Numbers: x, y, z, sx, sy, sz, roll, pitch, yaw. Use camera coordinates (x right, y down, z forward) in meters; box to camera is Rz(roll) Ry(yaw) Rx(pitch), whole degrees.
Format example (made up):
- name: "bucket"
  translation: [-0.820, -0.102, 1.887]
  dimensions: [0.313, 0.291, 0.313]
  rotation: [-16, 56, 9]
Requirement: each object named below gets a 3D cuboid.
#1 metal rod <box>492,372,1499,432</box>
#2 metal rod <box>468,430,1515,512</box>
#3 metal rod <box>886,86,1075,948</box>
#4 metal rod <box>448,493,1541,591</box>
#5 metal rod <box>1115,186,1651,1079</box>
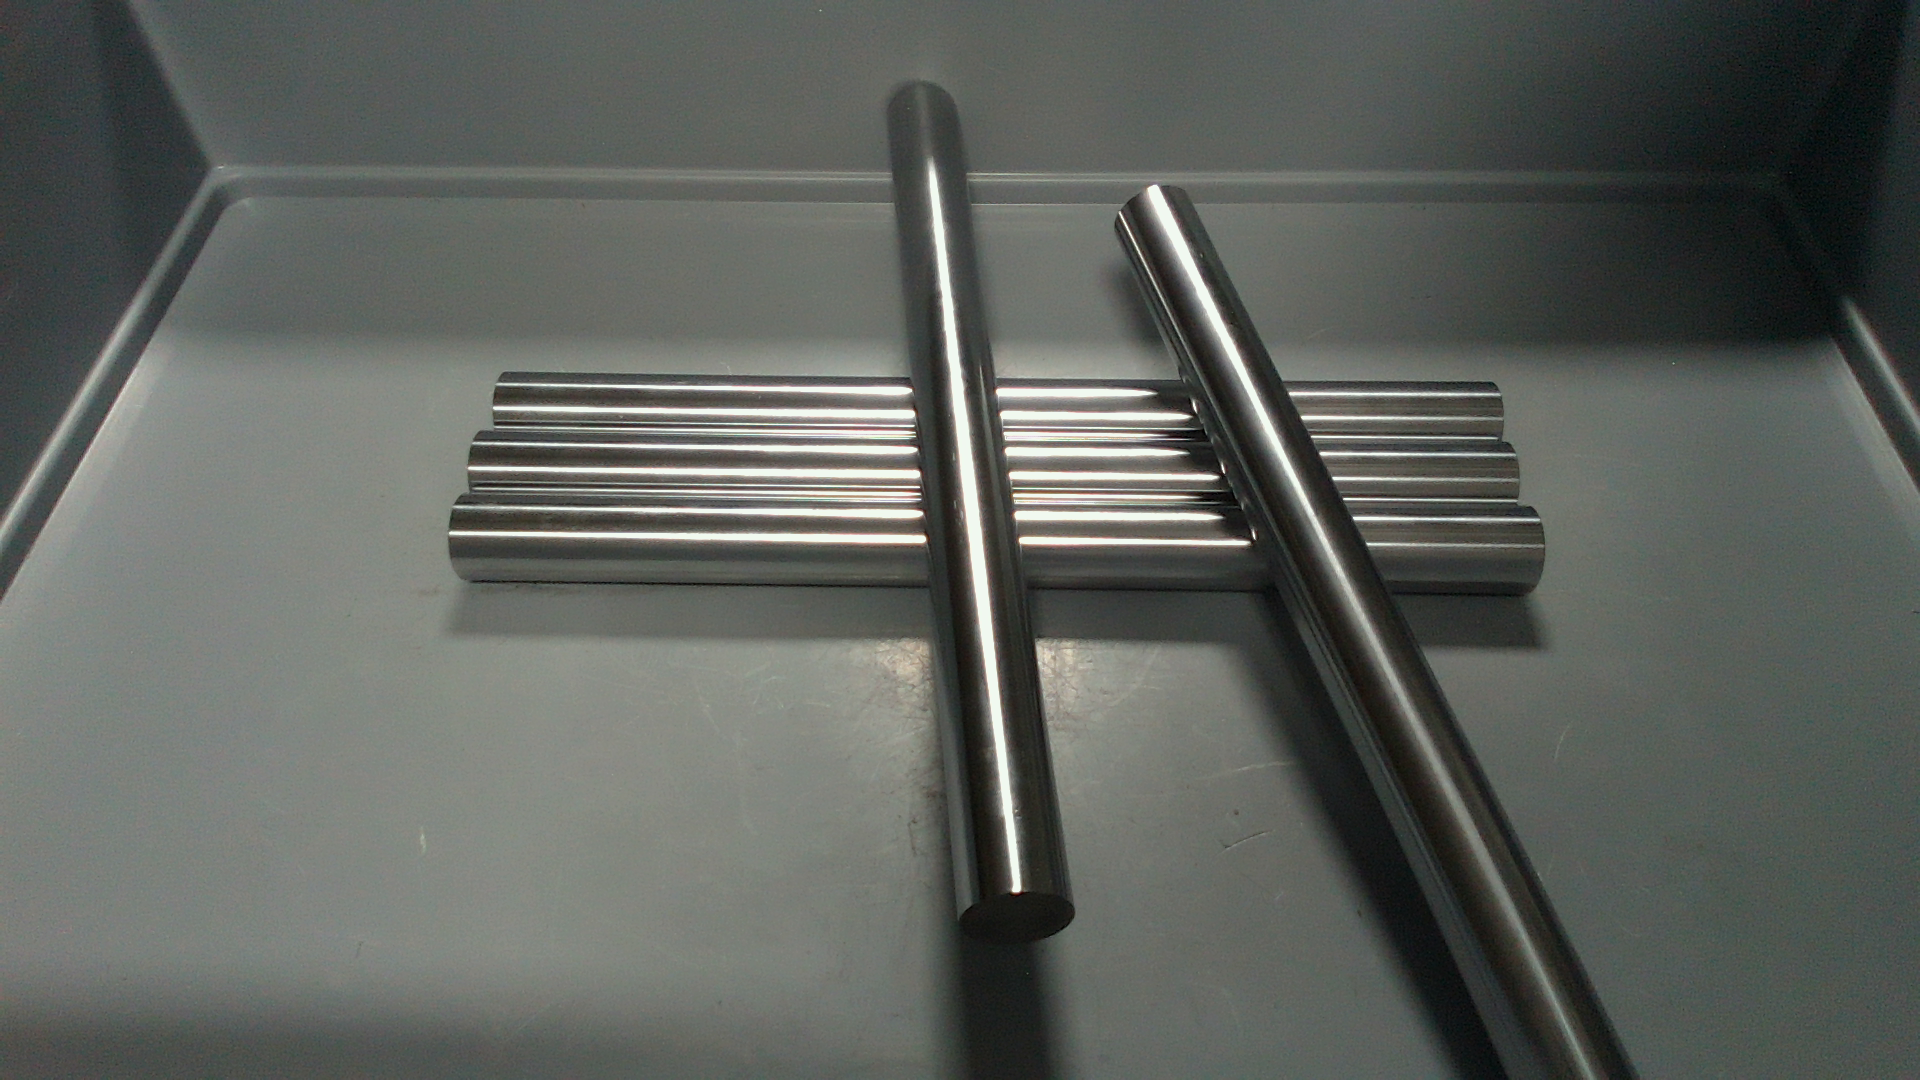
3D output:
- name: "metal rod"
  translation: [0.010, -0.038, 0.422]
  dimensions: [0.300, 0.025, 0.025]
  rotation: [1, 50, 0]
- name: "metal rod"
  translation: [0.009, -0.019, 0.406]
  dimensions: [0.300, 0.025, 0.025]
  rotation: [1, 50, 0]
- name: "metal rod"
  translation: [-0.001, -0.034, 0.386]
  dimensions: [0.025, 0.025, 0.300]
  rotation: [-4, 50, -3]
- name: "metal rod"
  translation: [0.009, 0.001, 0.390]
  dimensions: [0.300, 0.025, 0.025]
  rotation: [1, 50, 0]
- name: "metal rod"
  translation: [0.099, 0.021, 0.346]
  dimensions: [0.025, 0.025, 0.300]
  rotation: [-12, 58, -10]
